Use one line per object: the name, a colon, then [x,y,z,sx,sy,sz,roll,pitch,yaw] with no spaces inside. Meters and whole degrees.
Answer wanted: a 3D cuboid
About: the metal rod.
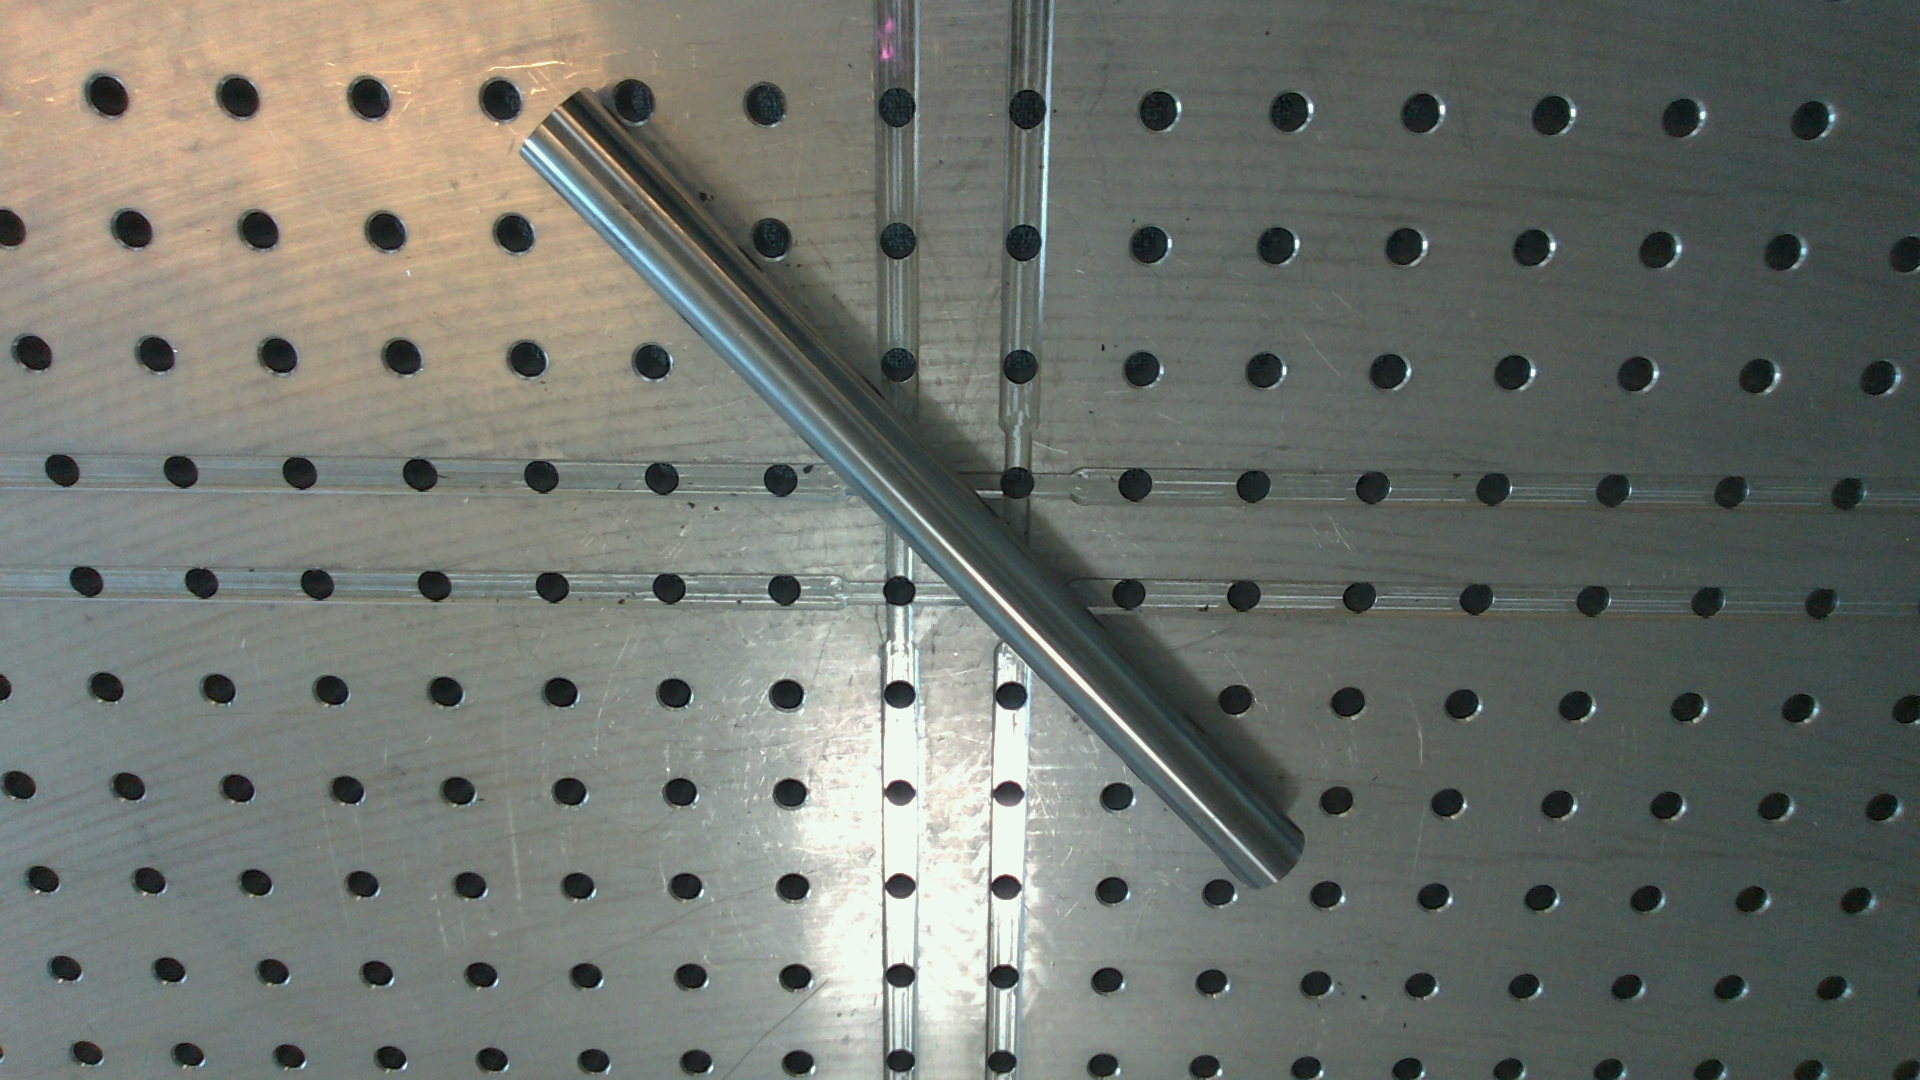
metal rod: [-0.005,-0.005,0.395,0.025,0.025,0.300,-41,105,13]
